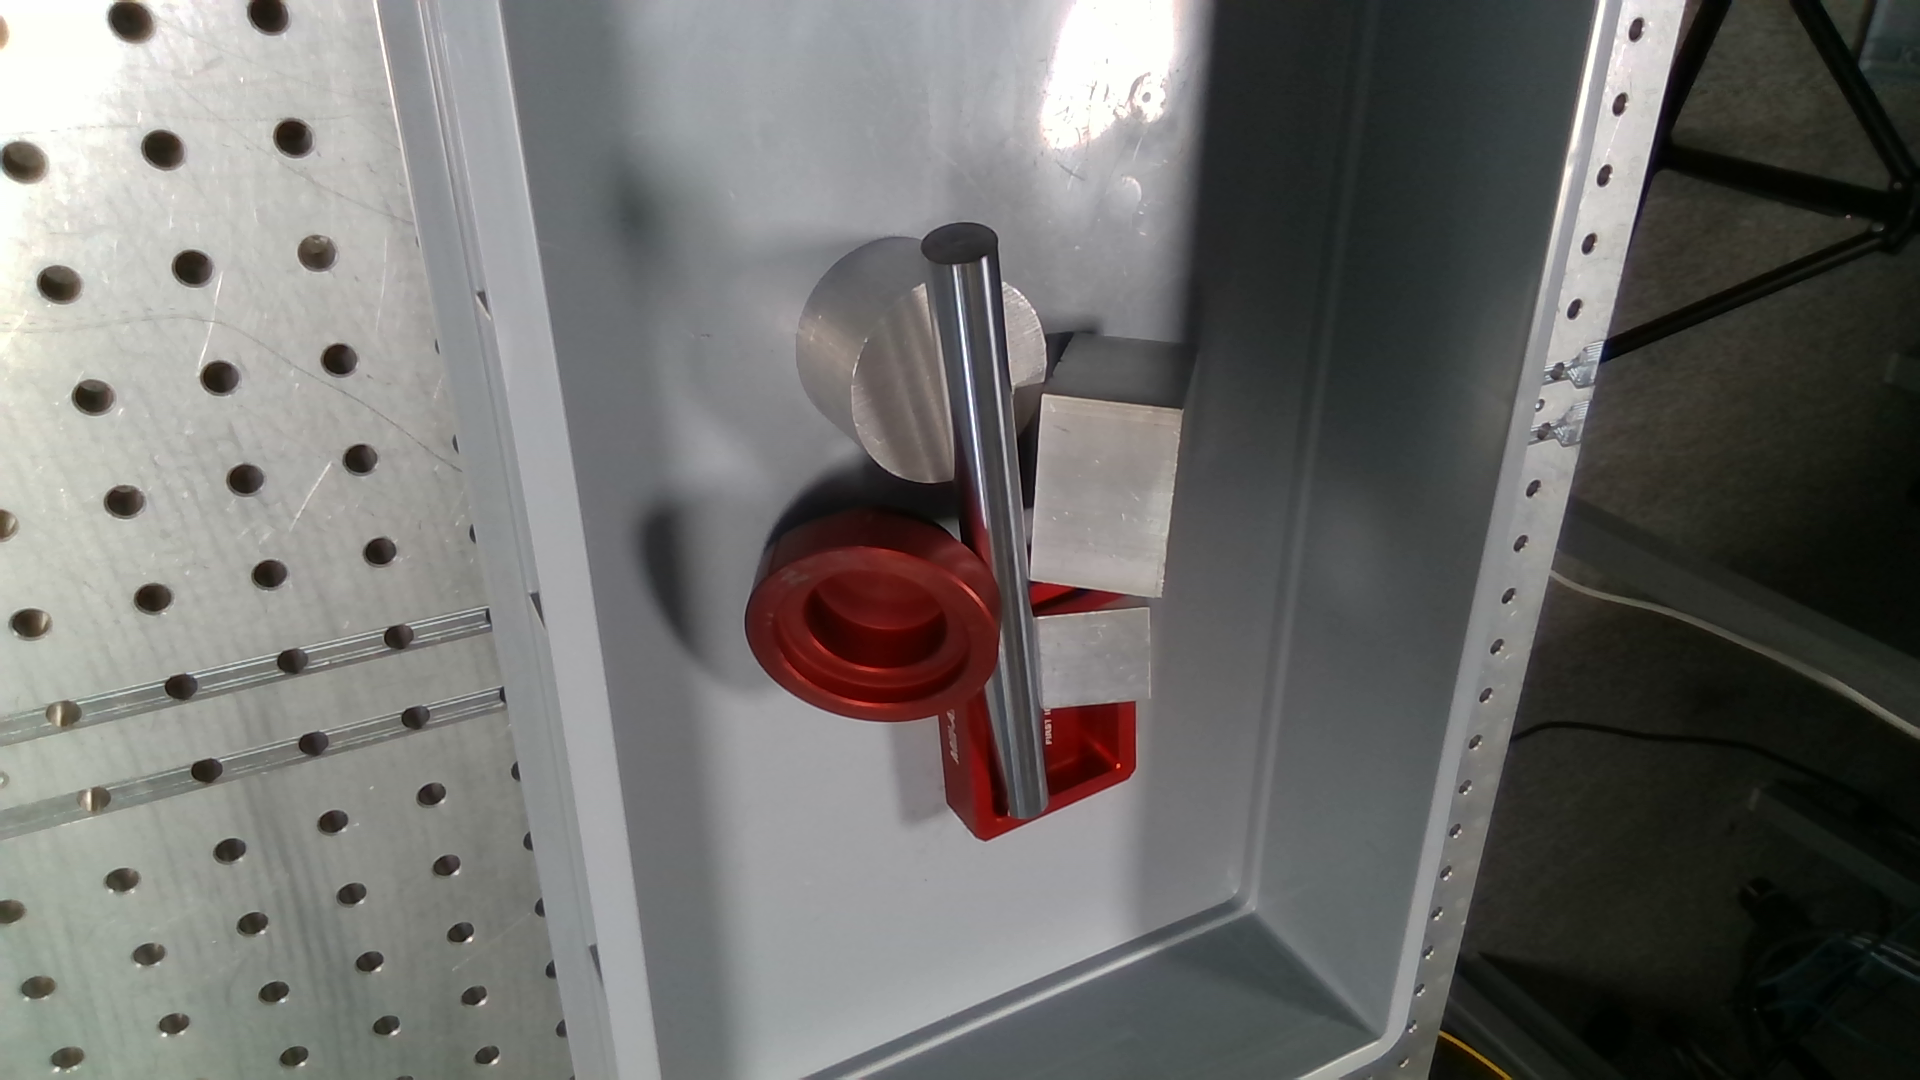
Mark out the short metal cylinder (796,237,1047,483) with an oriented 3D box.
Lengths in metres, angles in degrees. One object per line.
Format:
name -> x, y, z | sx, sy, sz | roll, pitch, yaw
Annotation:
short metal cylinder -> -0.015, -0.068, 0.516 | 0.080, 0.050, 0.080 | -14, 122, -25

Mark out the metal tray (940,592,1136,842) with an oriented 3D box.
metal tray -> 0.035, 0.067, 0.633 | 0.090, 0.030, 0.130 | -19, 123, -22

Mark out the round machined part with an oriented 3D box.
round machined part -> -0.032, 0.025, 0.541 | 0.098, 0.042, 0.098 | 3, 133, 3

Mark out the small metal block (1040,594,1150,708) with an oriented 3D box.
small metal block -> 0.057, 0.045, 0.611 | 0.050, 0.025, 0.050 | -5, 120, 0

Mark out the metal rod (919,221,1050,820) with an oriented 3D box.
metal rod -> 0.015, 0.013, 0.542 | 0.025, 0.025, 0.301 | -26, 136, -18

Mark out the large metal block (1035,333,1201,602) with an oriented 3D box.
large metal block -> 0.065, -0.032, 0.557 | 0.050, 0.080, 0.080 | 8, 117, 11
